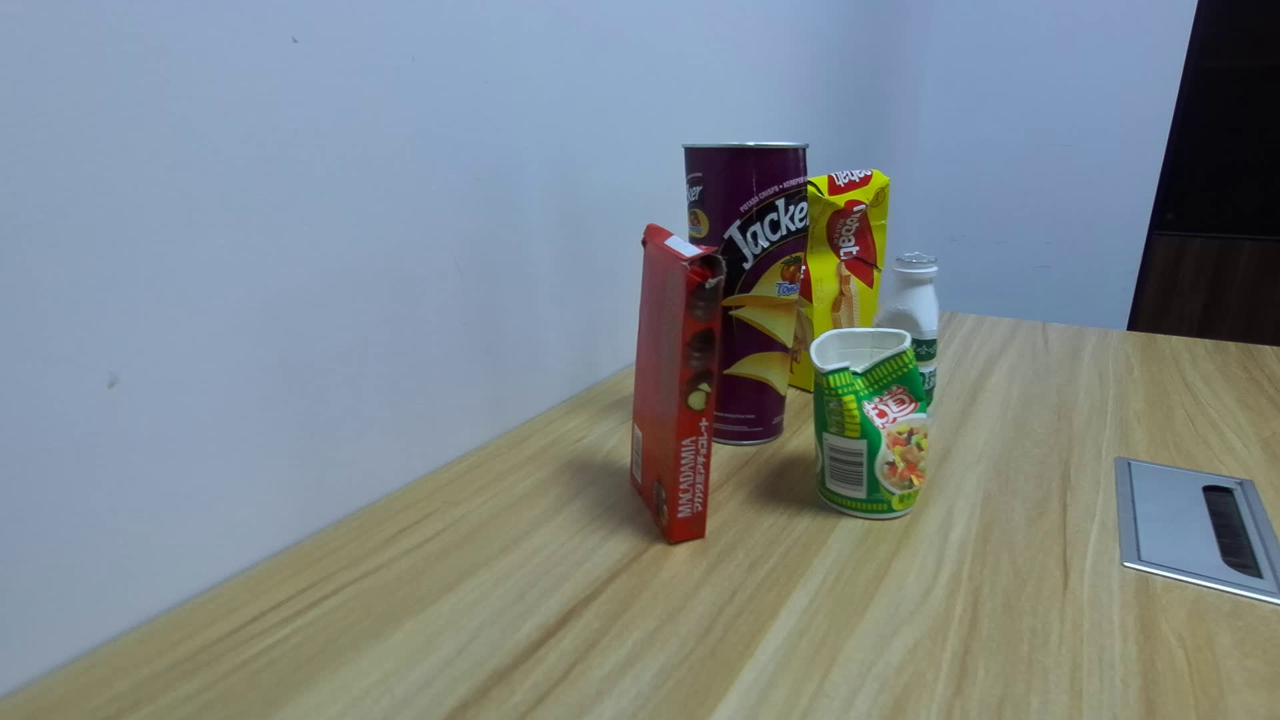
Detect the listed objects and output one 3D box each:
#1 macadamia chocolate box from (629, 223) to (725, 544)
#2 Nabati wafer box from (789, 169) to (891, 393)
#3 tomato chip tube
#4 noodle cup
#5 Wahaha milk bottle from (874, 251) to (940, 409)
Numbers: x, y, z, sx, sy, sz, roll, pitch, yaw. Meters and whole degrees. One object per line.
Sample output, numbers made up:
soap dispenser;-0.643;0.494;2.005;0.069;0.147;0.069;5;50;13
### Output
macadamia chocolate box;0.021;0.012;0.458;0.027;0.187;0.102;-3;19;-16
Nabati wafer box;0.185;-0.075;0.679;0.107;0.204;0.042;-12;22;-33
tomato chip tube;0.083;-0.053;0.571;0.076;0.235;0.077;-9;19;-25
noodle cup;0.157;0.041;0.479;0.083;0.122;0.075;-12;13;-3
Wahaha milk bottle;0.216;-0.011;0.574;0.055;0.149;0.055;0;22;0
